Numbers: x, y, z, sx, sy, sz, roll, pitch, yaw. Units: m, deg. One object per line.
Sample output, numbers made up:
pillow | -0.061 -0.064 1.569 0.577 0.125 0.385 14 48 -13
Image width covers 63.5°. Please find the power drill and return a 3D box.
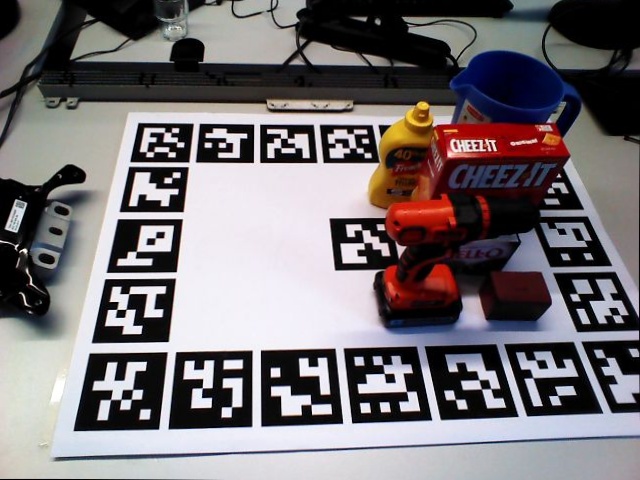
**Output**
power drill | 0.171 0.020 0.640 0.185 0.188 0.057 -1 51 -5

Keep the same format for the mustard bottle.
mustard bottle | 0.145 -0.139 0.779 0.096 0.192 0.058 11 55 4

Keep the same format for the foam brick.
foam brick | 0.285 0.082 0.728 0.078 0.051 0.052 2 56 -2

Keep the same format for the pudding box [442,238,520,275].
pudding box | 0.227 0.011 0.735 0.114 0.090 0.038 -1 53 -1

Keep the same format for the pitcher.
pitcher | 0.279 -0.146 0.778 0.189 0.243 0.132 4 54 2

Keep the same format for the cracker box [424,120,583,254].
cracker box | 0.236 -0.060 0.720 0.164 0.214 0.071 -3 53 -3
